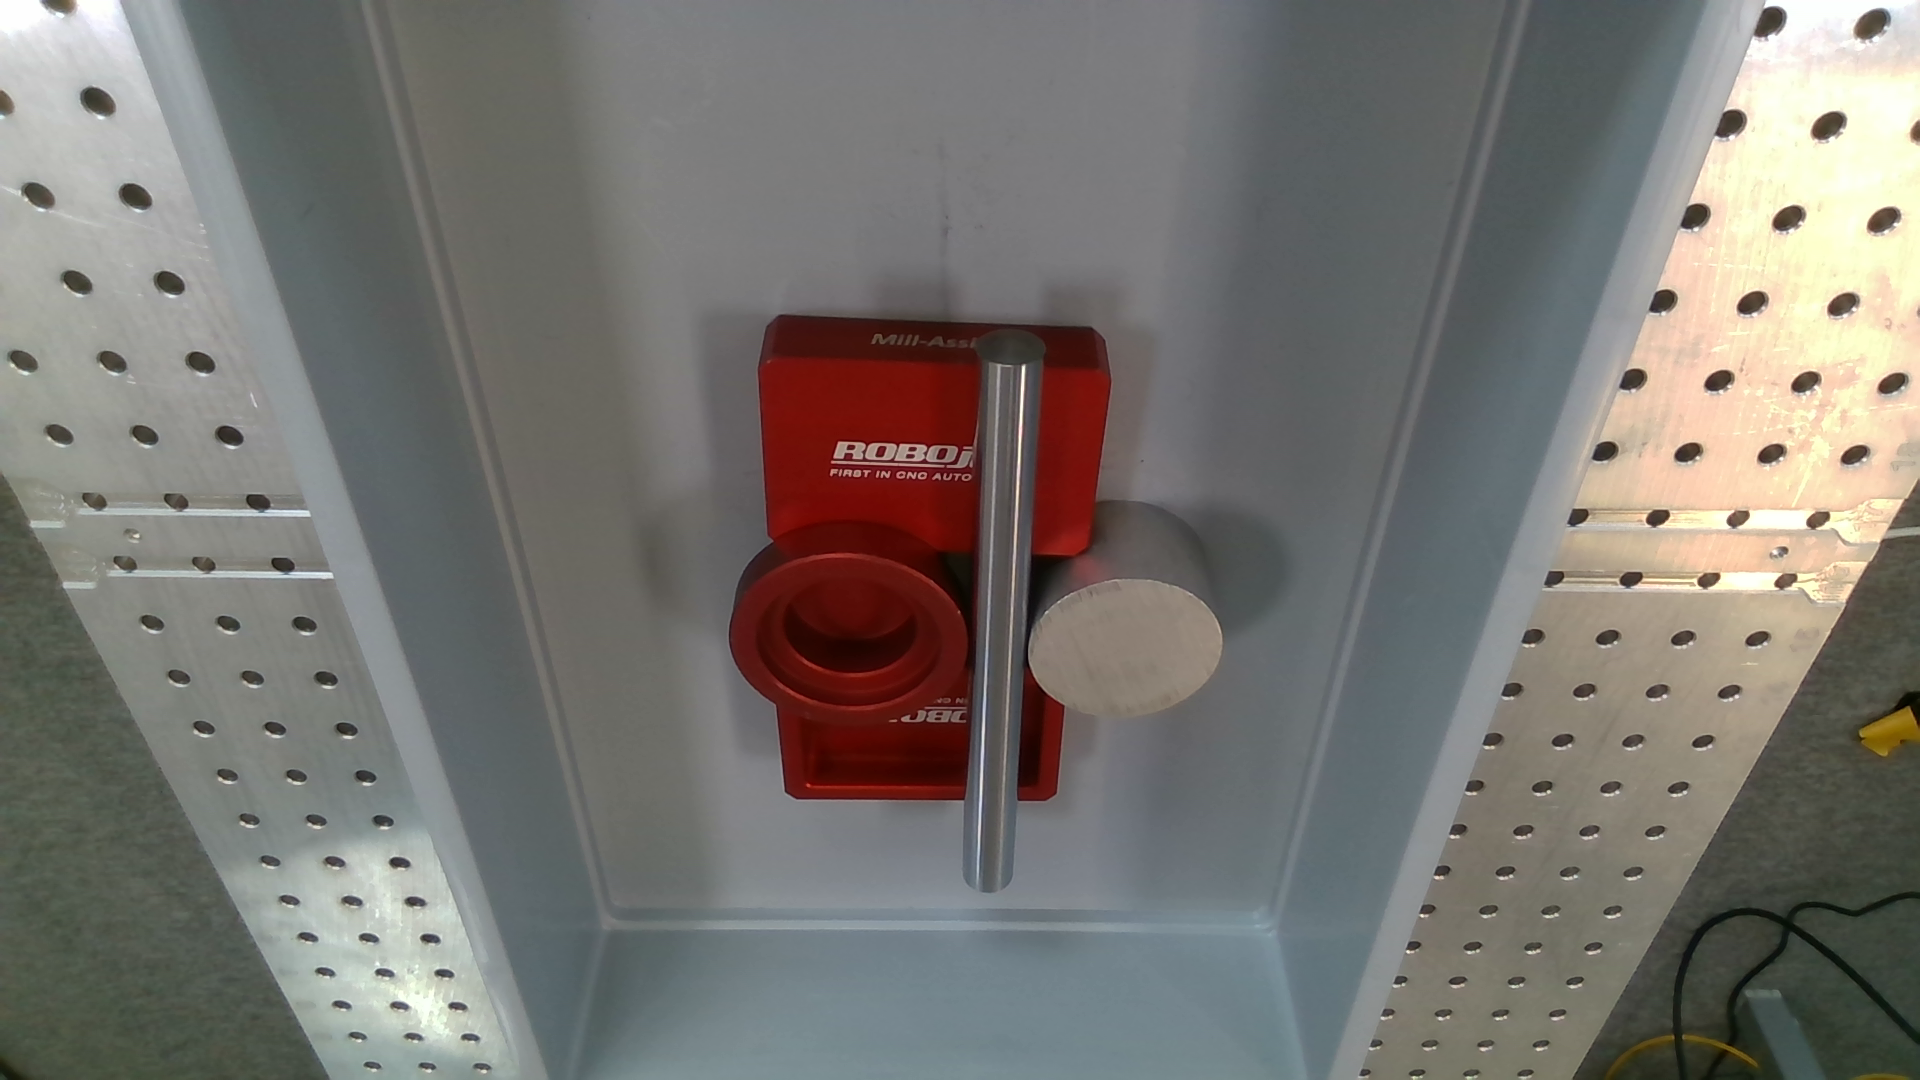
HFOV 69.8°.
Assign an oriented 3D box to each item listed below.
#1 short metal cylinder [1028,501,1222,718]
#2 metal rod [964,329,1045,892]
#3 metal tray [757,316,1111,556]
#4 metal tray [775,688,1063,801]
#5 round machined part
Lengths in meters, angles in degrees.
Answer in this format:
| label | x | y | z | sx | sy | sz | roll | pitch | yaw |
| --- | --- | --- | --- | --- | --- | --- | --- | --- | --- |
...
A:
| label | x | y | z | sx | sy | sz | roll | pitch | yaw |
| --- | --- | --- | --- | --- | --- | --- | --- | --- | --- |
| short metal cylinder | 0.068 | 0.030 | 0.587 | 0.080 | 0.050 | 0.080 | 0 | 130 | 0 |
| metal rod | 0.015 | 0.048 | 0.578 | 0.025 | 0.025 | 0.301 | 1 | 130 | 0 |
| metal tray | -0.011 | -0.039 | 0.541 | 0.130 | 0.030 | 0.090 | 2 | 130 | -2 |
| metal tray | -0.018 | 0.081 | 0.643 | 0.130 | 0.030 | 0.090 | 1 | 130 | 0 |
| round machined part | -0.046 | 0.030 | 0.580 | 0.098 | 0.042 | 0.098 | 0 | 130 | 0 |
